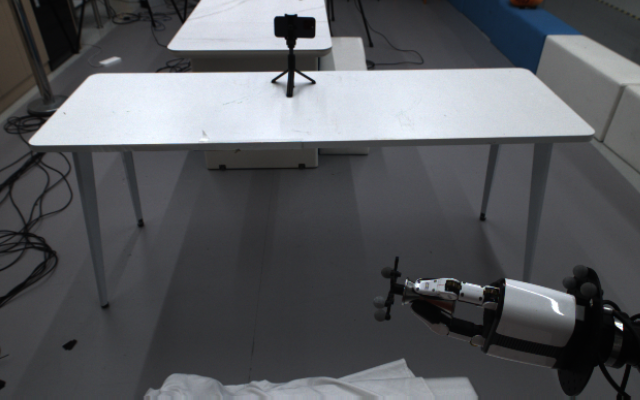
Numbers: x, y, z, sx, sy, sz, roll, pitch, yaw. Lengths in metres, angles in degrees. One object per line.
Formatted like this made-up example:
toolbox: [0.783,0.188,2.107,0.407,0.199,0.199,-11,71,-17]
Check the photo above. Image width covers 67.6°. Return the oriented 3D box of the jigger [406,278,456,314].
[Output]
jigger: [0.155,0.126,0.655,0.071,0.043,0.043,10,35,15]
